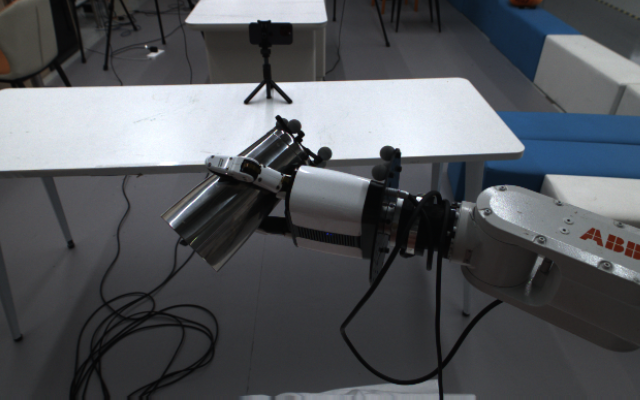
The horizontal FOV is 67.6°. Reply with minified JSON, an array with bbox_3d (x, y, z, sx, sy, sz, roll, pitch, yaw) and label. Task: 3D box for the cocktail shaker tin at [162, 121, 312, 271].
[{"bbox_3d":[-0.093,-0.011,0.579,0.170,0.093,0.093,-43,50,-14],"label":"cocktail shaker tin"}]
